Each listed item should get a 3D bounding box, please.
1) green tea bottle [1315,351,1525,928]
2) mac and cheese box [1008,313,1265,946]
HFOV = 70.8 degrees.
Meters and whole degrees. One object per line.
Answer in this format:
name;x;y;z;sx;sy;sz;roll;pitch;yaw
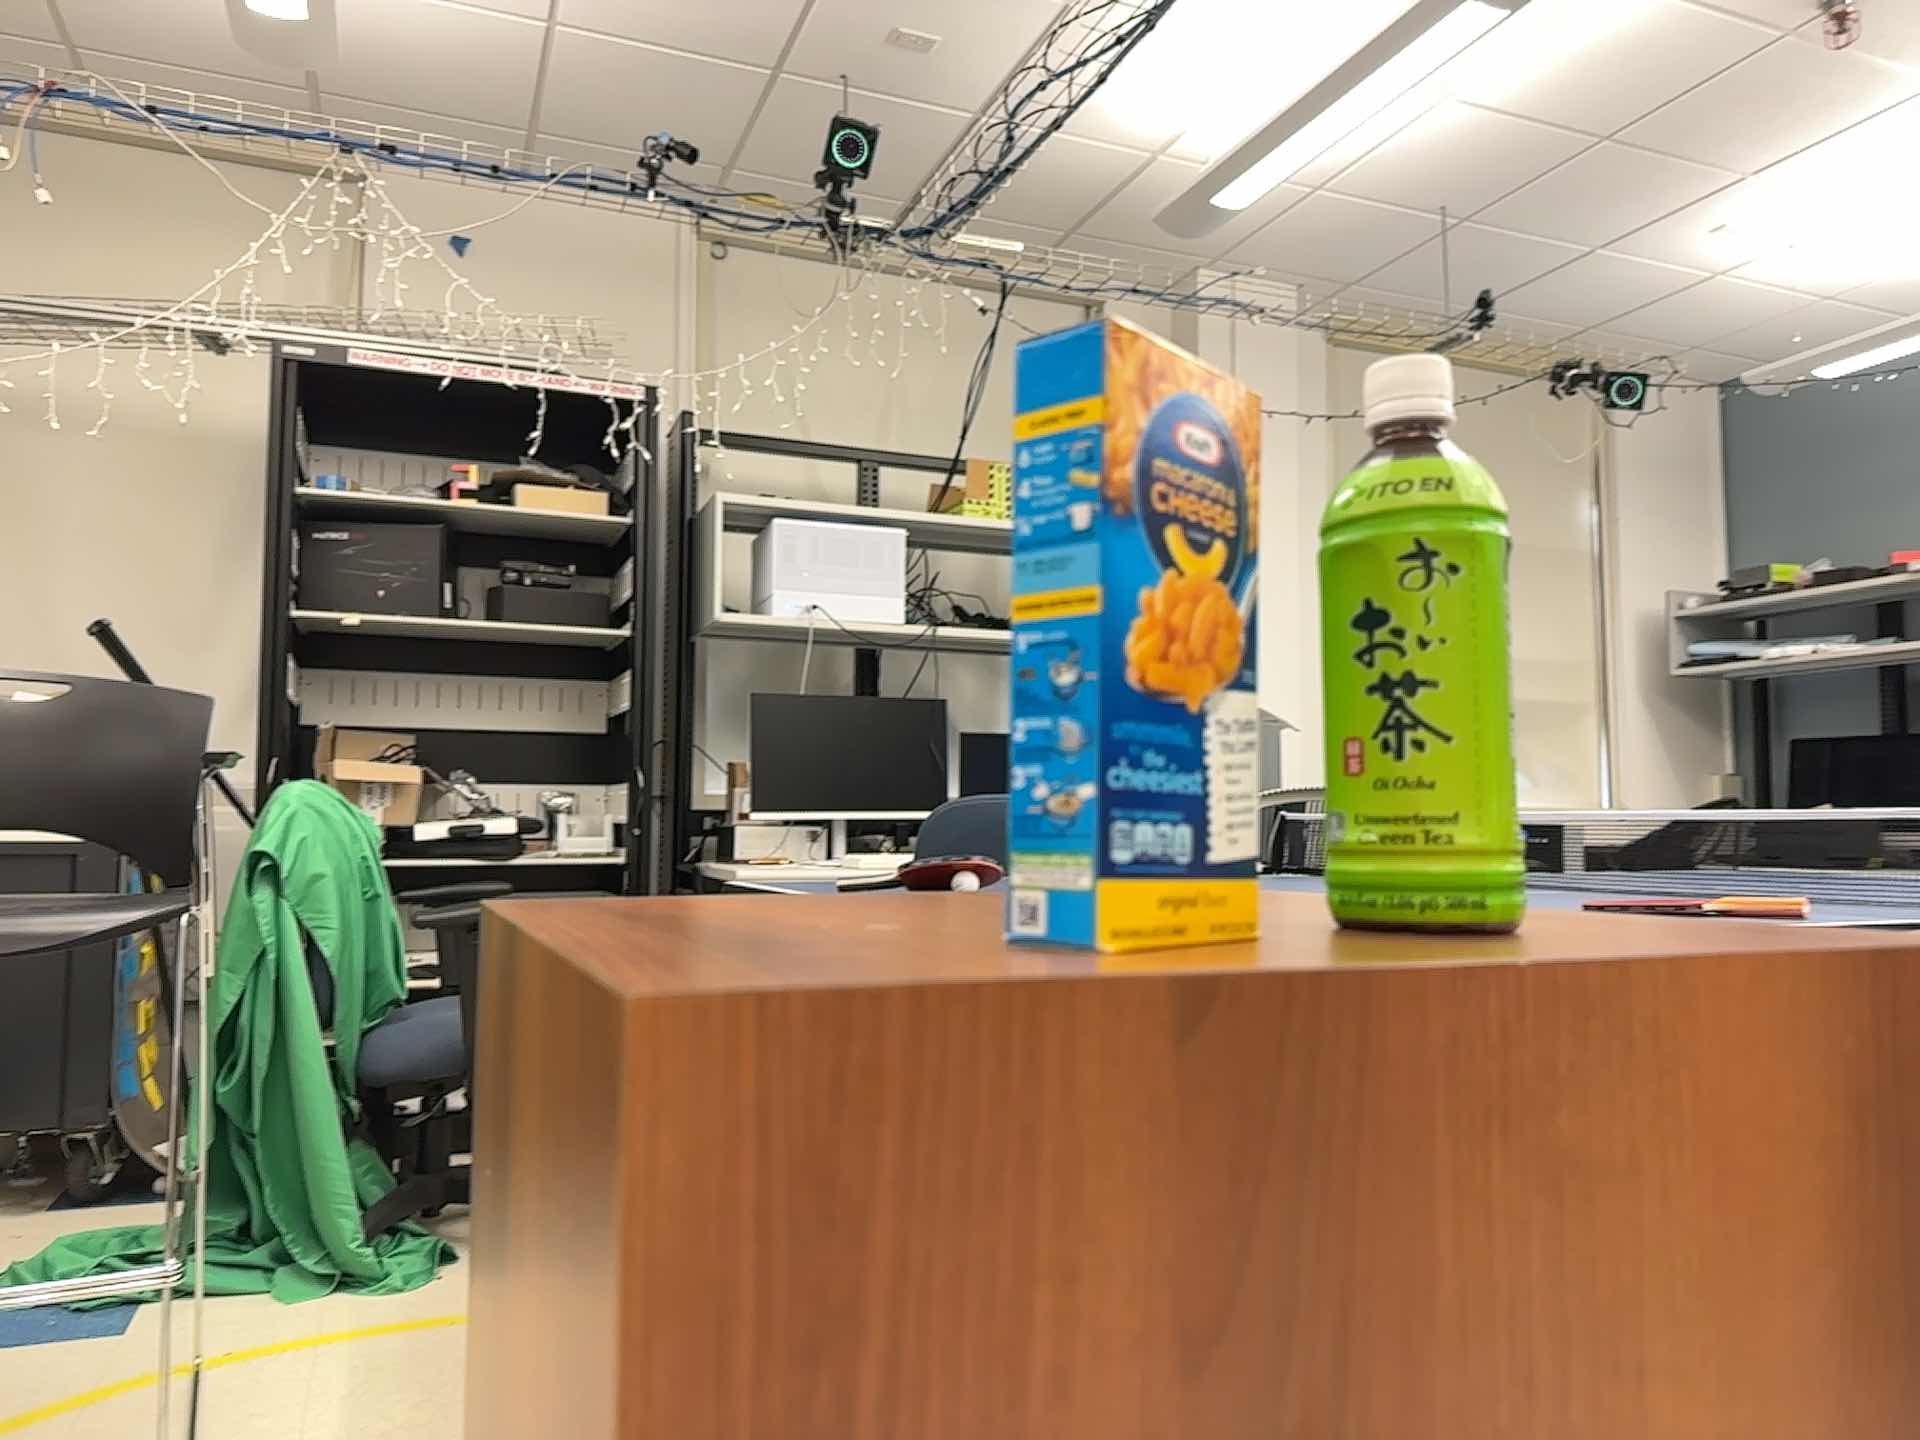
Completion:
green tea bottle;0.169;-0.031;0.503;0.073;0.212;0.073;2;-8;0
mac and cheese box;0.057;-0.024;0.427;0.035;0.181;0.088;-5;-8;43
